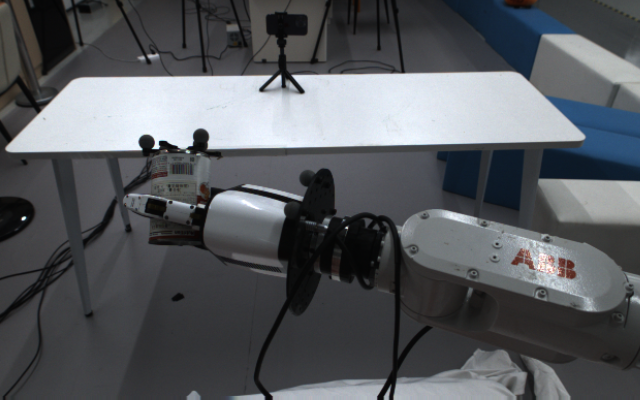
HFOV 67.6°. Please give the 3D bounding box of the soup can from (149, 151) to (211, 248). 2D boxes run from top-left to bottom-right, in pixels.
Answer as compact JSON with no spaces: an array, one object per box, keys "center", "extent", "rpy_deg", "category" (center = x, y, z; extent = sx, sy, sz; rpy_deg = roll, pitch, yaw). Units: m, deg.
[{"center":[-0.157,0.001,0.551],"extent":[0.067,0.101,0.067],"rpy_deg":[-1,-9,0],"category":"soup can"}]
